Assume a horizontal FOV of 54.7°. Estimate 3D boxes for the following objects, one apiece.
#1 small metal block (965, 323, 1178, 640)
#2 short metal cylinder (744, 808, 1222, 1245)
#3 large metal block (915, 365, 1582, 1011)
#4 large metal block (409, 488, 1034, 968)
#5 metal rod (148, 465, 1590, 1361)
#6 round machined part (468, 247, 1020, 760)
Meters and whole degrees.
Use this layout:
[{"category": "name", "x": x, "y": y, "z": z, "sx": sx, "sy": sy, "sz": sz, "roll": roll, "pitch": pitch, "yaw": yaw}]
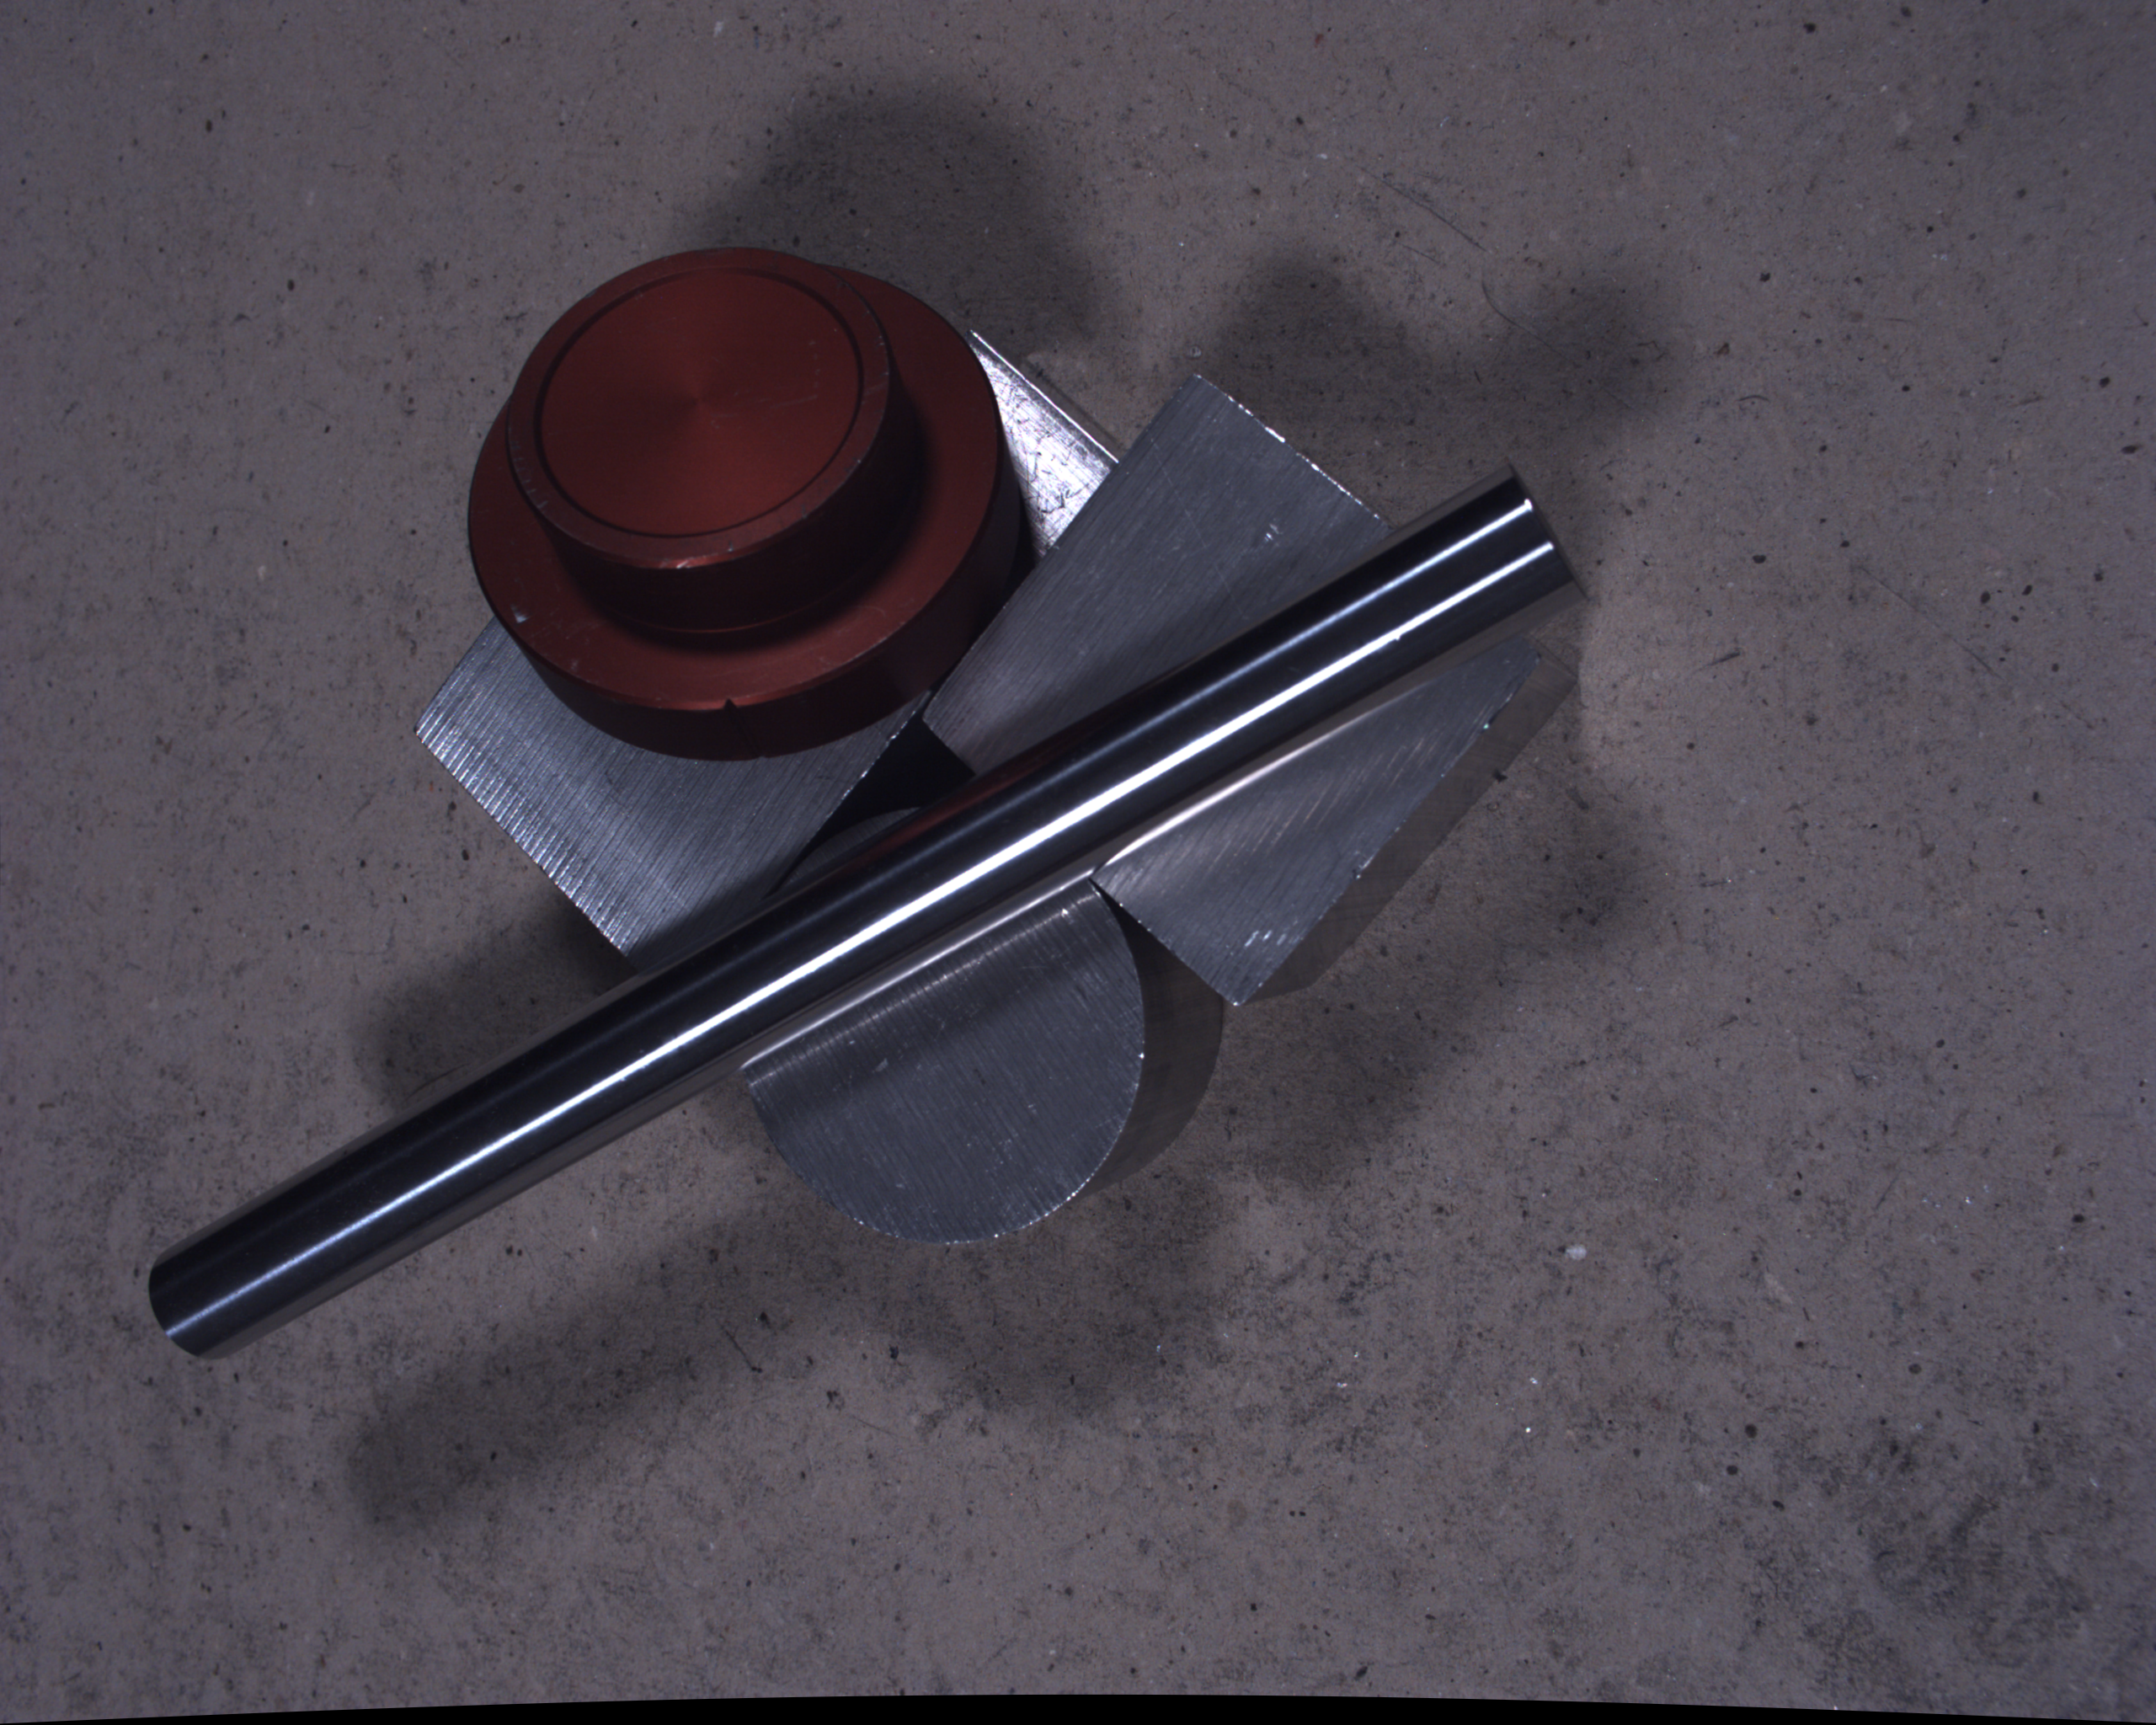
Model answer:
[{"category": "small metal block", "x": -0.015, "y": -0.069, "z": 0.414, "sx": 0.050, "sy": 0.025, "sz": 0.050, "roll": 44, "pitch": 103, "yaw": 14}, {"category": "short metal cylinder", "x": -0.018, "y": 0.029, "z": 0.402, "sx": 0.080, "sy": 0.050, "sz": 0.079, "roll": 0, "pitch": 90, "yaw": 19}, {"category": "large metal block", "x": 0.032, "y": -0.031, "z": 0.385, "sx": 0.080, "sy": 0.050, "sz": 0.080, "roll": 43, "pitch": 103, "yaw": 14}, {"category": "large metal block", "x": -0.071, "y": -0.029, "z": 0.420, "sx": 0.080, "sy": 0.050, "sz": 0.080, "roll": 44, "pitch": 103, "yaw": 14}, {"category": "metal rod", "x": -0.050, "y": 0.018, "z": 0.374, "sx": 0.300, "sy": 0.025, "sz": 0.025, "roll": -29, "pitch": 81, "yaw": 17}, {"category": "round machined part", "x": -0.062, "y": -0.071, "z": 0.375, "sx": 0.099, "sy": 0.042, "sz": 0.098, "roll": -3, "pitch": 64, "yaw": 6}]
